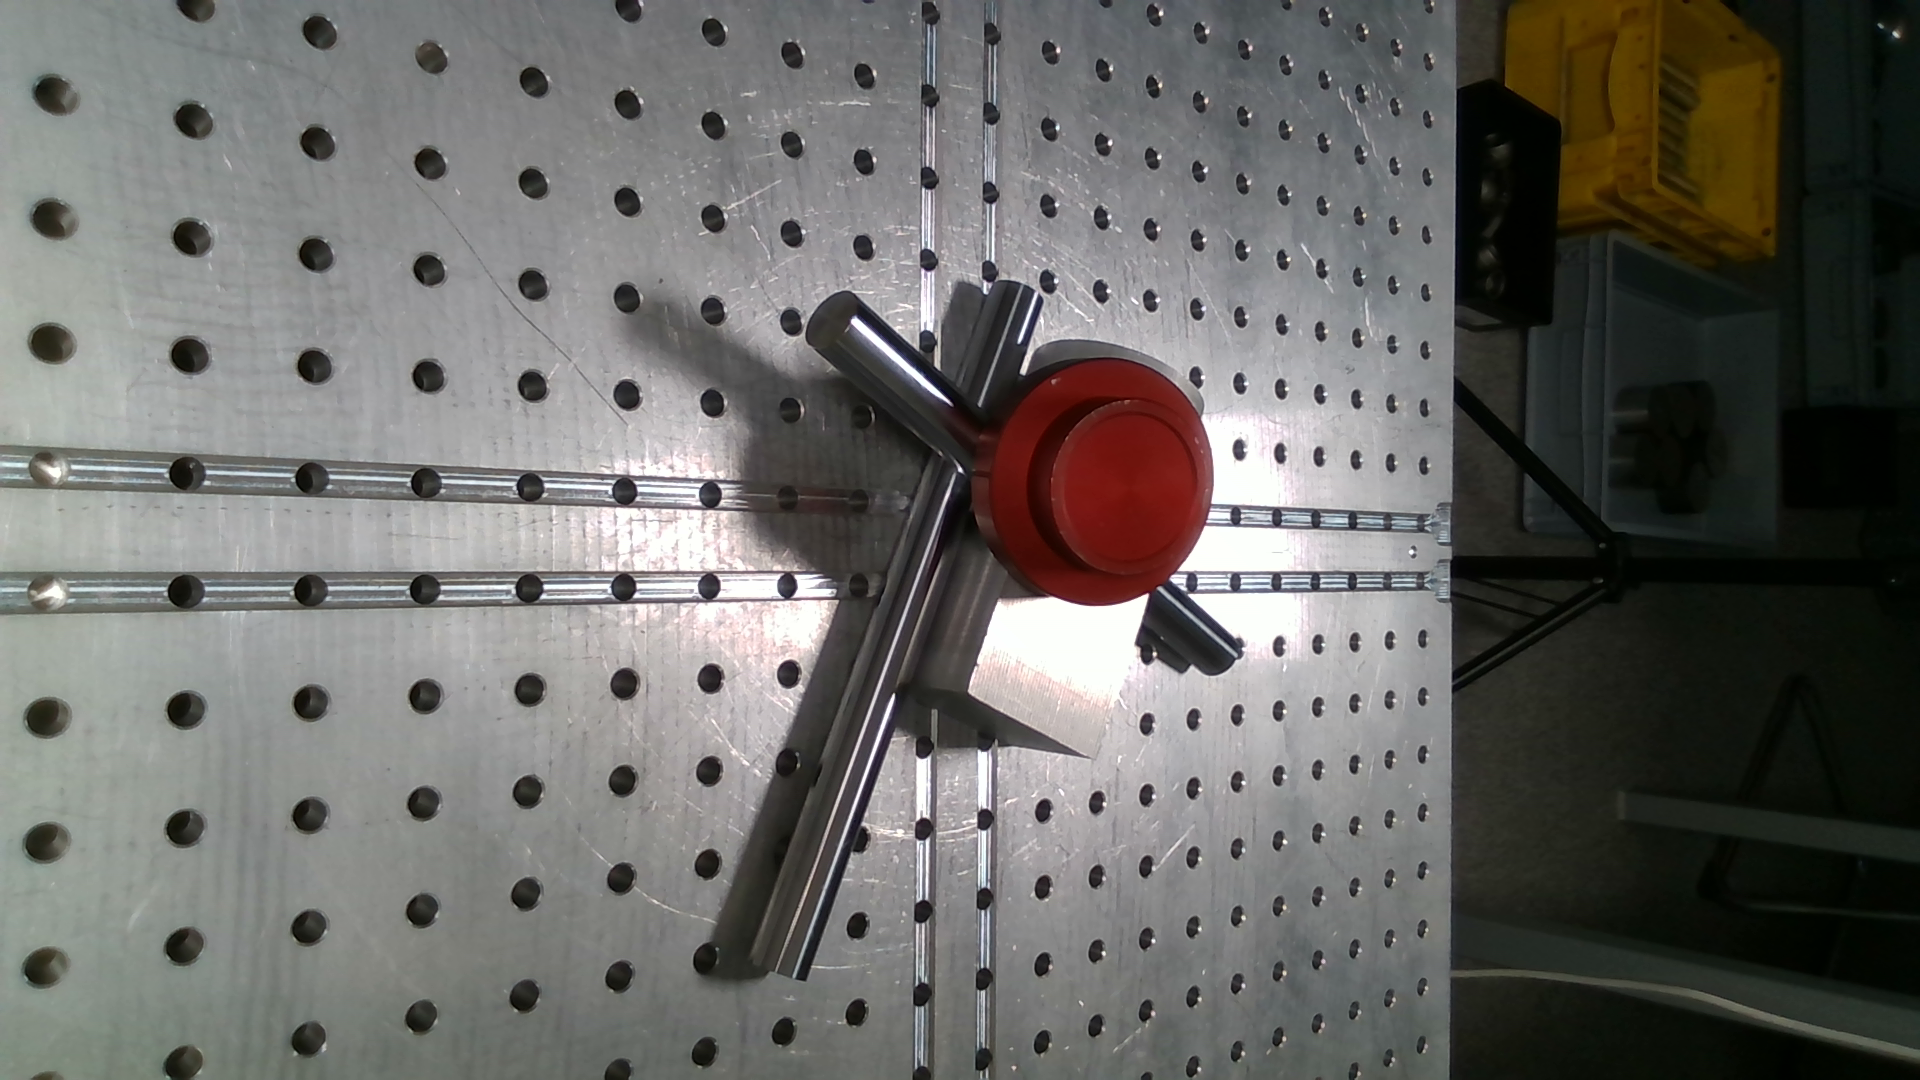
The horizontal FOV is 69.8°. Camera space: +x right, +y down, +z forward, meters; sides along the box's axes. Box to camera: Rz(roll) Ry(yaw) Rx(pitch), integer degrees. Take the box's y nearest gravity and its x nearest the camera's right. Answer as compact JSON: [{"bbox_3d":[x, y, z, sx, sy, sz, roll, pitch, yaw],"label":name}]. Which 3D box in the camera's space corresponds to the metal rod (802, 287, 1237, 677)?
[{"bbox_3d":[0.041,-0.011,0.595,0.301,0.025,0.025,38,66,-42],"label":"metal rod"}]

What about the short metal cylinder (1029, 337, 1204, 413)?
[{"bbox_3d":[0.061,-0.046,0.601,0.080,0.080,0.050,31,70,-36],"label":"short metal cylinder"}]

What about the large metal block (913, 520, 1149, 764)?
[{"bbox_3d":[0.028,0.042,0.589,0.080,0.050,0.080,32,70,-36],"label":"large metal block"}]

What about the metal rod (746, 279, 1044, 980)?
[{"bbox_3d":[-0.023,0.028,0.566,0.025,0.025,0.299,31,71,-36],"label":"metal rod"}]

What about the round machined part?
[{"bbox_3d":[0.057,-0.022,0.537,0.098,0.042,0.098,-3,98,-20],"label":"round machined part"}]
